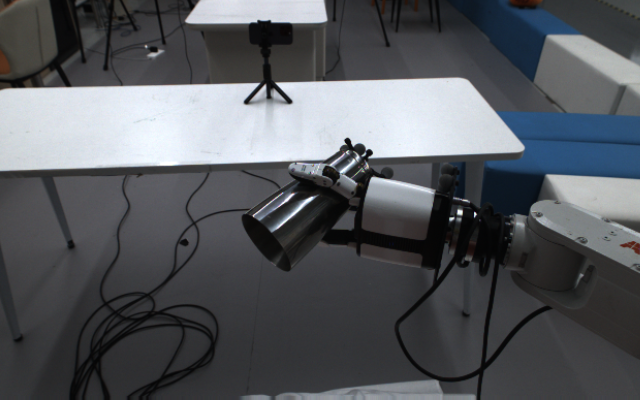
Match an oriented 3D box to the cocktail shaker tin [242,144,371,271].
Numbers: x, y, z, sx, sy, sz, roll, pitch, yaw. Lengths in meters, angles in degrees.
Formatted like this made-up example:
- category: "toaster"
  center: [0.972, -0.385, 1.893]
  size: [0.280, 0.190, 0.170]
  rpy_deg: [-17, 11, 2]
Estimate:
- category: "cocktail shaker tin"
  center: [-0.008, 0.001, 0.640]
  size: [0.170, 0.093, 0.093]
  rpy_deg: [-38, 50, -24]
